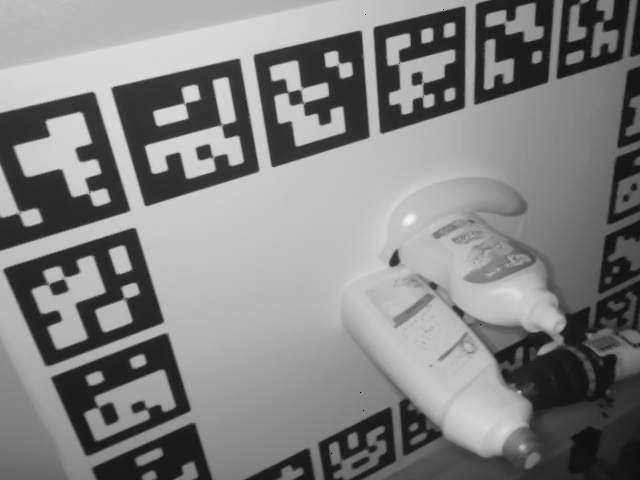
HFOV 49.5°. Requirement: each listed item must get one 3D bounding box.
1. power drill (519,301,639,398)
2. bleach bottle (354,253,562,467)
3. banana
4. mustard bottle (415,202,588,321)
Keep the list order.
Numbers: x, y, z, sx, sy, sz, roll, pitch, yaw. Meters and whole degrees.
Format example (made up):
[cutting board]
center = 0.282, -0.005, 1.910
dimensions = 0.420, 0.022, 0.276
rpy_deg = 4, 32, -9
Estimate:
[power drill]
center = 0.229, 0.081, 0.678
dimensions = 0.187, 0.186, 0.057
rpy_deg = -6, 116, -24
[bleach bottle]
center = 0.129, 0.104, 0.630
dimensions = 0.104, 0.249, 0.067
rpy_deg = -15, 124, -21
[banana]
center = 0.154, -0.041, 0.713
dimensions = 0.200, 0.038, 0.074
rpy_deg = -15, 116, -24
[mustard bottle]
center = 0.175, 0.023, 0.649
dimensions = 0.097, 0.190, 0.058
rpy_deg = -17, 119, -19
